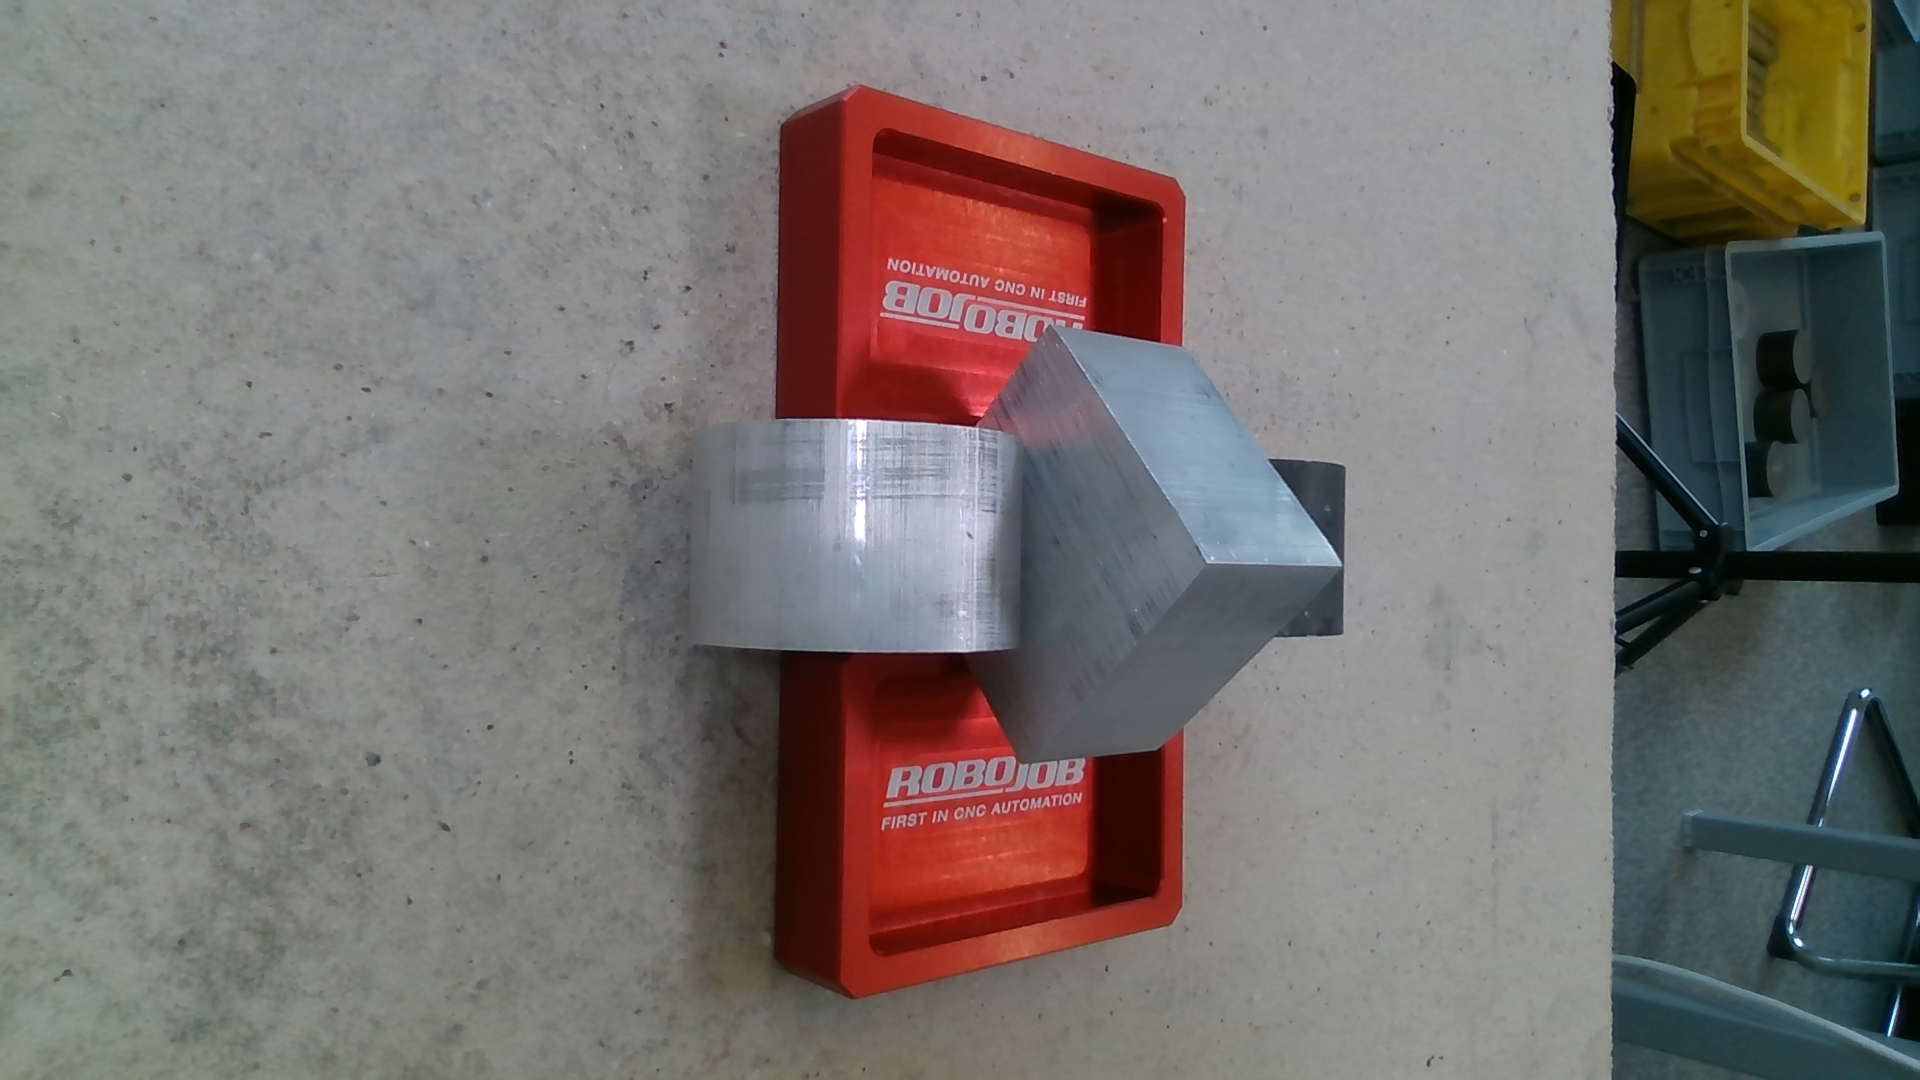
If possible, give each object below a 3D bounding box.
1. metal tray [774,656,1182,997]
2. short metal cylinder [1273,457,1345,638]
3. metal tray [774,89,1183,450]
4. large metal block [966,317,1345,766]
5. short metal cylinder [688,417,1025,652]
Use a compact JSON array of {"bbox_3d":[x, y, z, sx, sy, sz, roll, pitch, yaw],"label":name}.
[{"bbox_3d":[0.010,0.072,0.397,0.130,0.030,0.090,2,89,-40],"label":"metal tray"},{"bbox_3d":[0.075,0.003,0.419,0.080,0.080,0.050,3,88,-40],"label":"short metal cylinder"},{"bbox_3d":[0.010,-0.068,0.397,0.130,0.030,0.090,2,89,-40],"label":"metal tray"},{"bbox_3d":[0.038,0.002,0.361,0.050,0.080,0.080,2,49,-40],"label":"large metal block"},{"bbox_3d":[-0.025,0.000,0.335,0.080,0.080,0.050,3,88,-40],"label":"short metal cylinder"}]
